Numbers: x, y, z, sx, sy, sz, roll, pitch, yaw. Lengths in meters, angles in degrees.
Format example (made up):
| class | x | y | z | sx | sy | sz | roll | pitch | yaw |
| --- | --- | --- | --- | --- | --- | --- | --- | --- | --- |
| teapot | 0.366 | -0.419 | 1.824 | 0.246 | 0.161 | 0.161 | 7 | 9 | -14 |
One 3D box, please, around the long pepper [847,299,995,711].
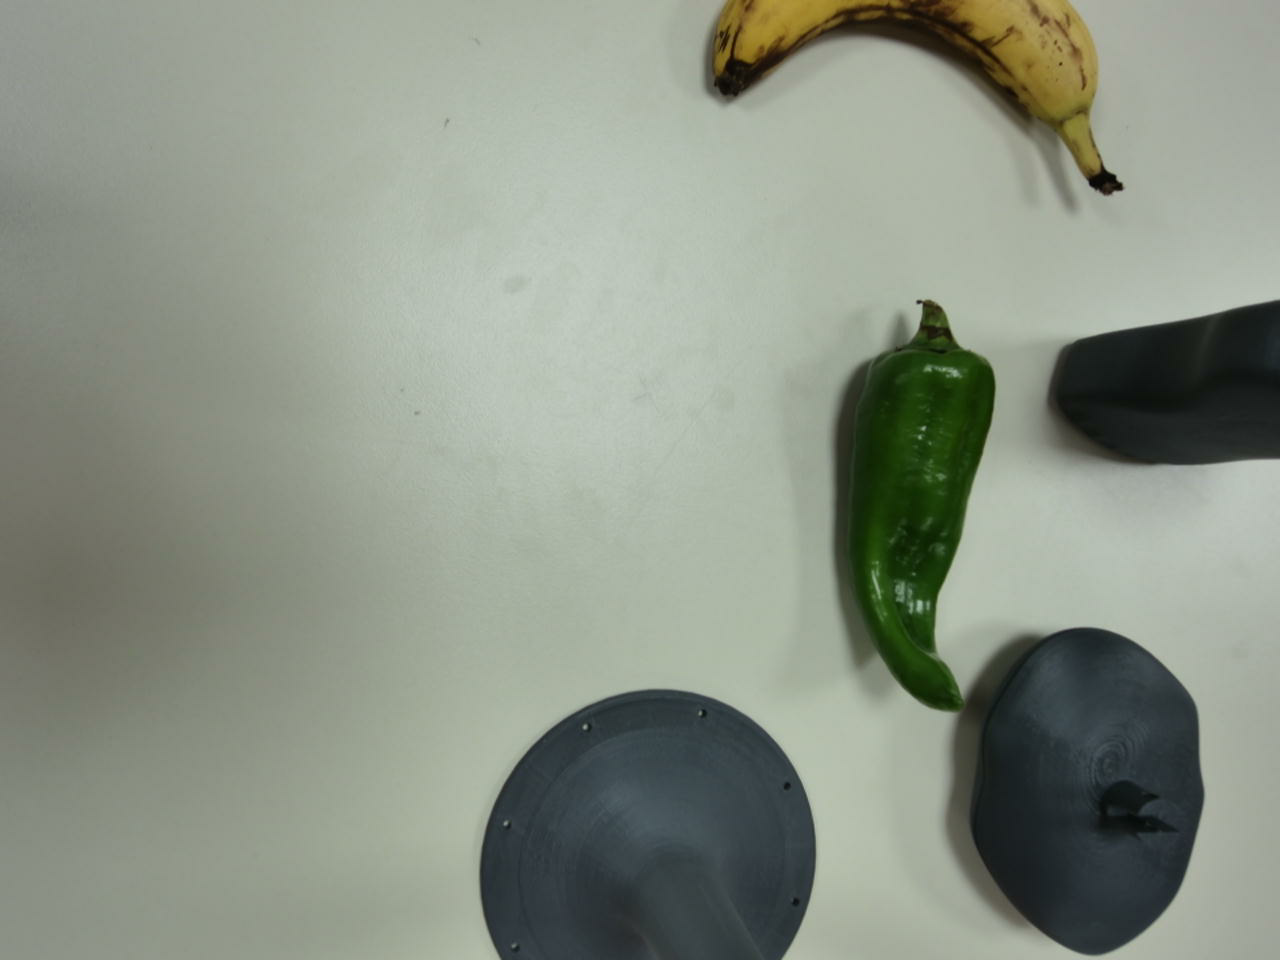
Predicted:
| class | x | y | z | sx | sy | sz | roll | pitch | yaw |
| --- | --- | --- | --- | --- | --- | --- | --- | --- | --- |
| long pepper | 0.121 | 0.007 | 0.432 | 0.058 | 0.065 | 0.175 | 8 | 89 | -11 |
